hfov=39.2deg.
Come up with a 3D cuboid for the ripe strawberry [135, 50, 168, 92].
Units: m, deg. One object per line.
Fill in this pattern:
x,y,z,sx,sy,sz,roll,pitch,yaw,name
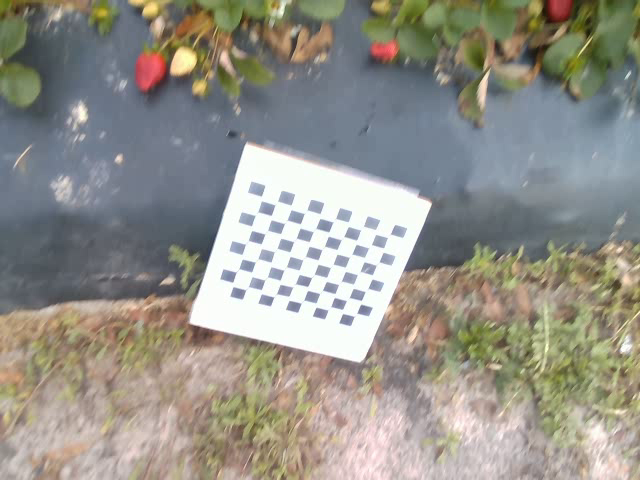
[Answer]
-0.216,-0.214,1.143,0.050,0.059,0.034,5,-26,-17,ripe strawberry
